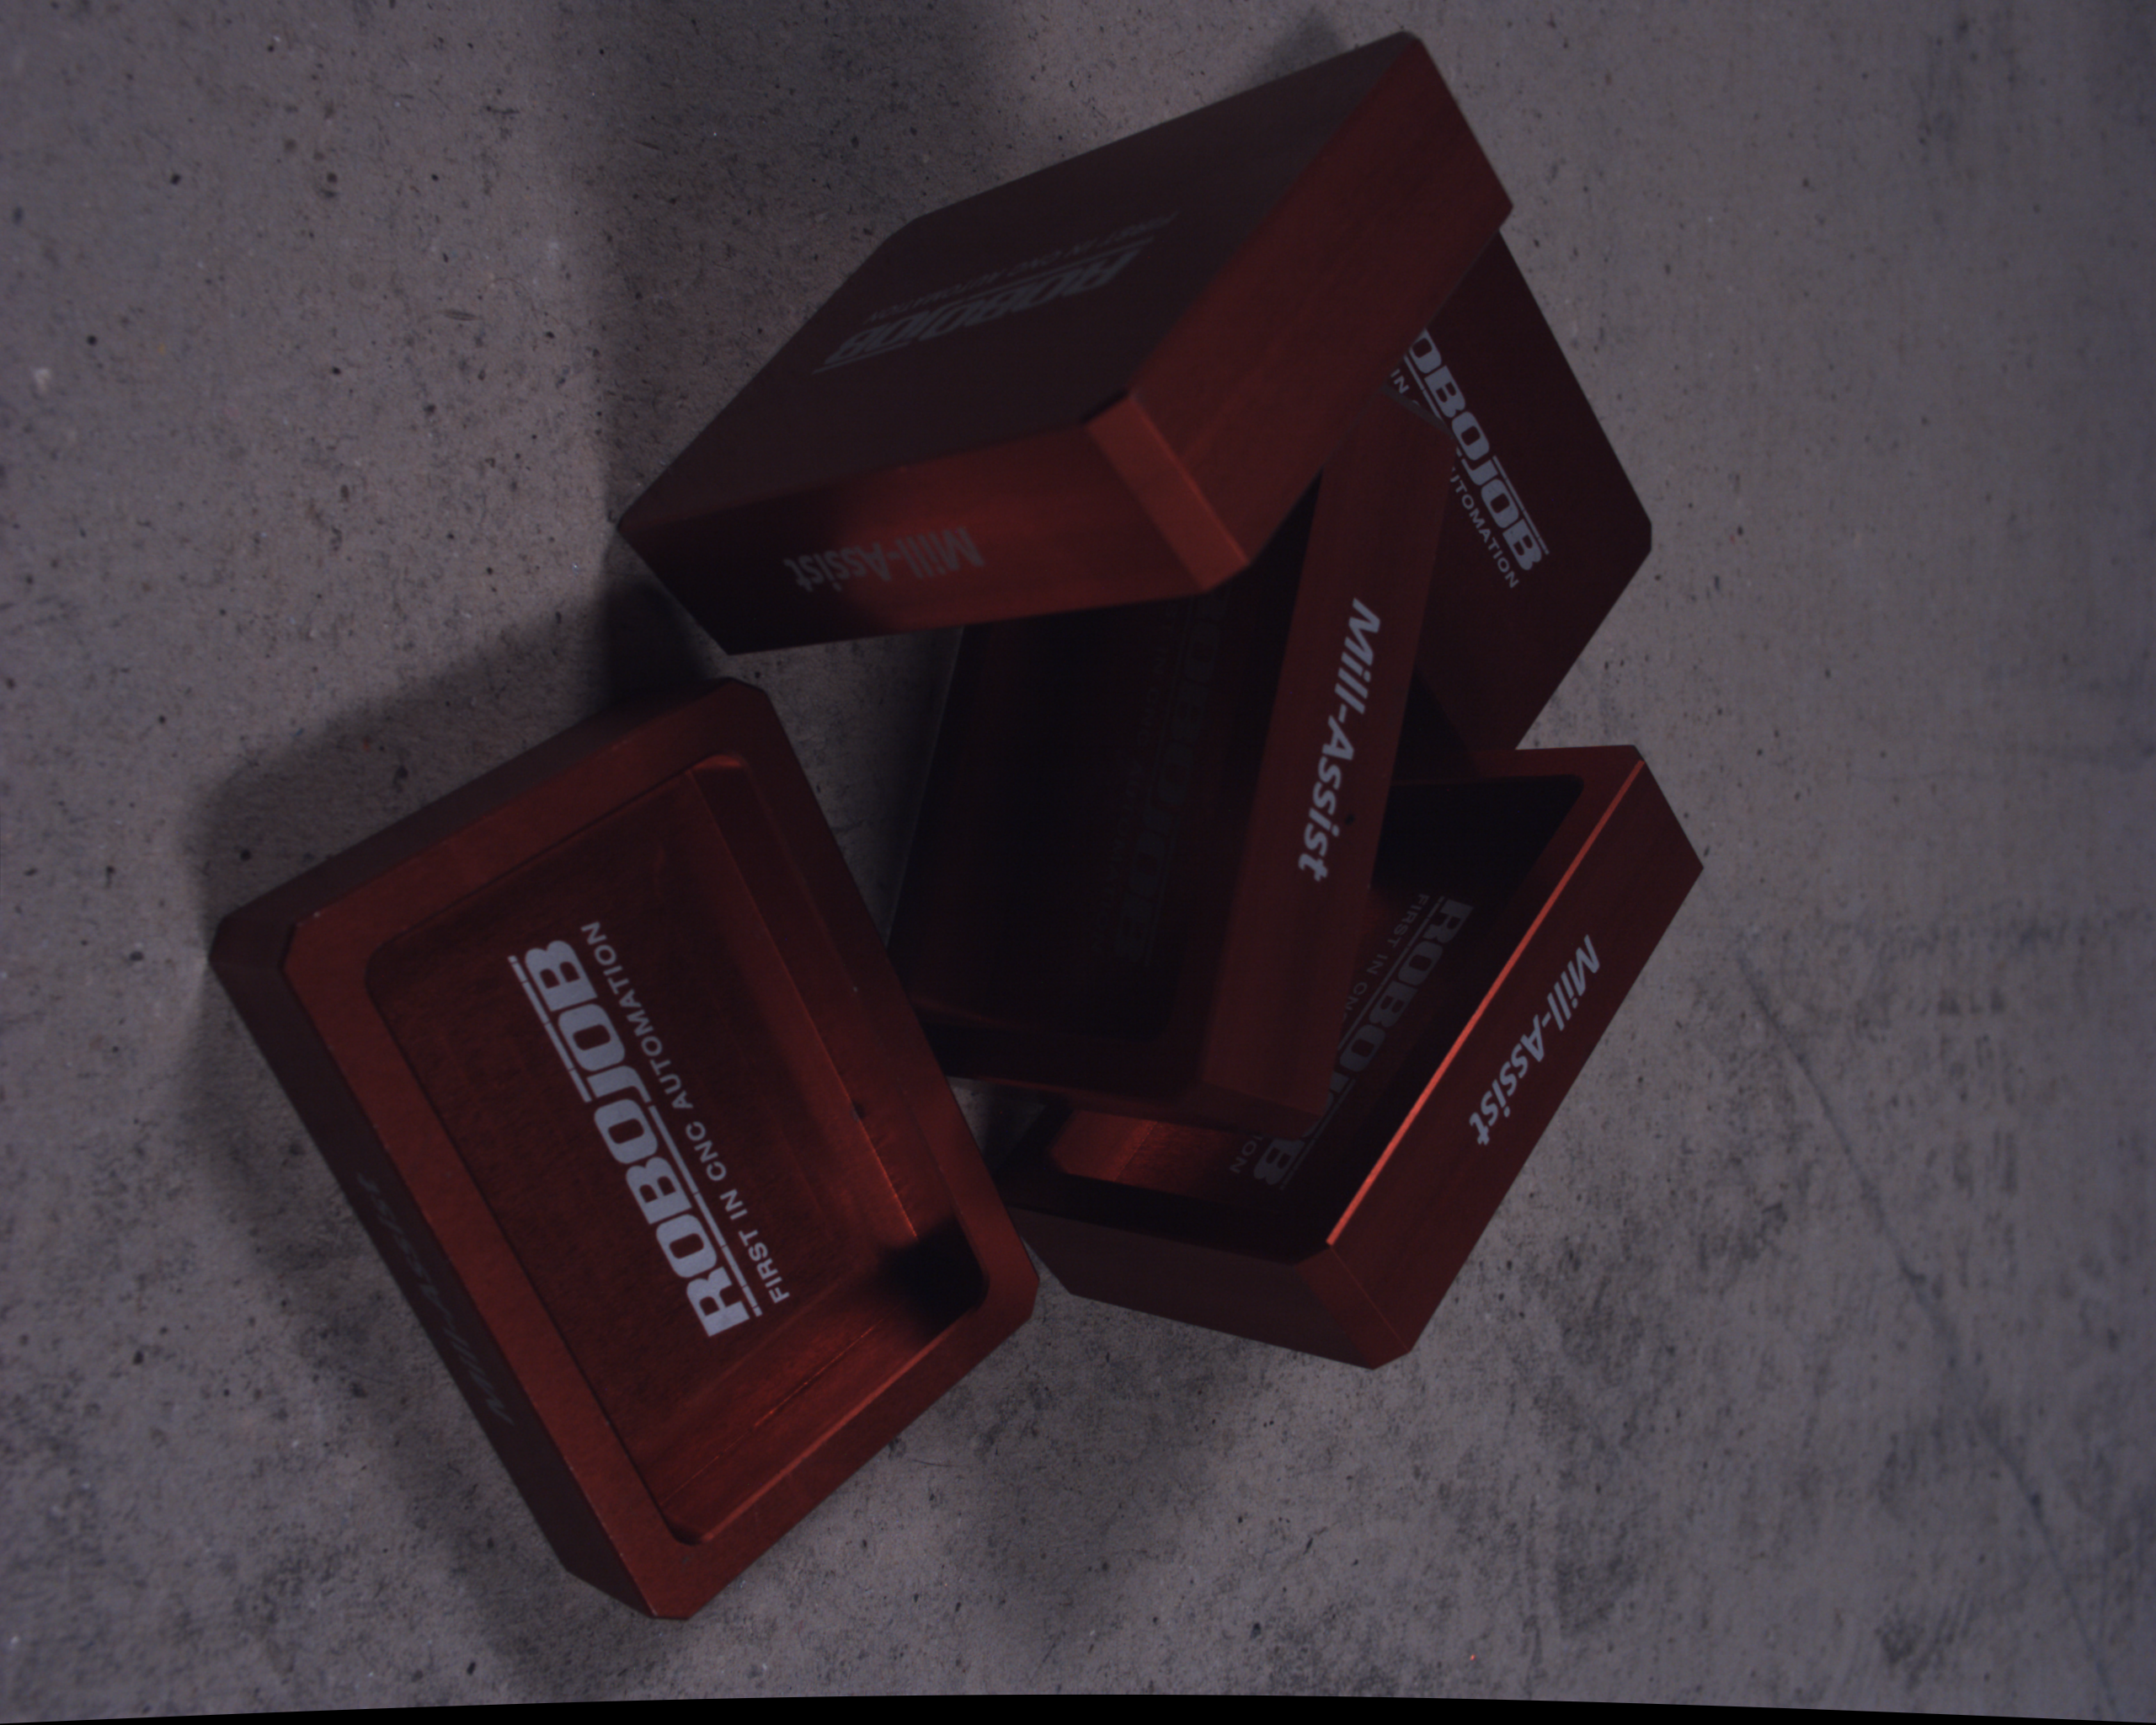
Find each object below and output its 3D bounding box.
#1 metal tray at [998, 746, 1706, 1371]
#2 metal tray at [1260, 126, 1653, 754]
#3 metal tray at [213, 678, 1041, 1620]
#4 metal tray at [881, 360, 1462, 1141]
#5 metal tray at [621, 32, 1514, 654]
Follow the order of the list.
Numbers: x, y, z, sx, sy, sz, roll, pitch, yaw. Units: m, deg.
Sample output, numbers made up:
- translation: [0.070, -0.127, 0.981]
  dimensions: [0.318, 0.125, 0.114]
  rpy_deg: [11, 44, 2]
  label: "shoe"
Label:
- translation: [0.054, 0.032, 0.411]
  dimensions: [0.130, 0.090, 0.030]
  rpy_deg: [-51, 121, -28]
  label: "metal tray"
- translation: [0.073, -0.094, 0.466]
  dimensions: [0.090, 0.030, 0.130]
  rpy_deg: [-52, 121, -27]
  label: "metal tray"
- translation: [-0.068, 0.046, 0.347]
  dimensions: [0.091, 0.030, 0.129]
  rpy_deg: [-36, 112, -34]
  label: "metal tray"
- translation: [0.014, -0.020, 0.377]
  dimensions: [0.030, 0.090, 0.129]
  rpy_deg: [21, 77, -39]
  label: "metal tray"
- translation: [-0.007, -0.078, 0.334]
  dimensions: [0.030, 0.130, 0.090]
  rpy_deg: [52, 59, -28]
  label: "metal tray"
